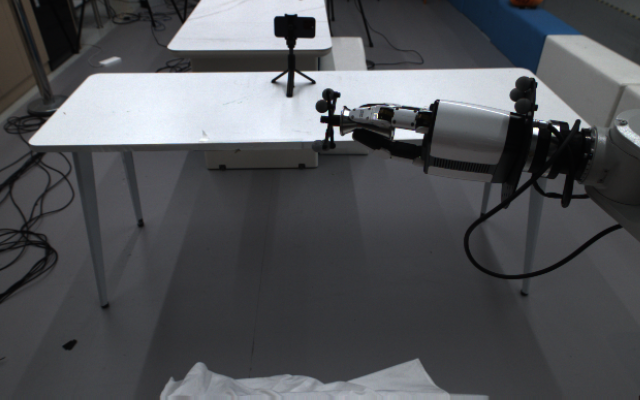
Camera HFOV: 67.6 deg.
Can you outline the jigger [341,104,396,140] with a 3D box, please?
[{"bbox_3d":[0.069,-0.105,0.638,0.071,0.043,0.043,6,35,14],"label":"jigger"}]
